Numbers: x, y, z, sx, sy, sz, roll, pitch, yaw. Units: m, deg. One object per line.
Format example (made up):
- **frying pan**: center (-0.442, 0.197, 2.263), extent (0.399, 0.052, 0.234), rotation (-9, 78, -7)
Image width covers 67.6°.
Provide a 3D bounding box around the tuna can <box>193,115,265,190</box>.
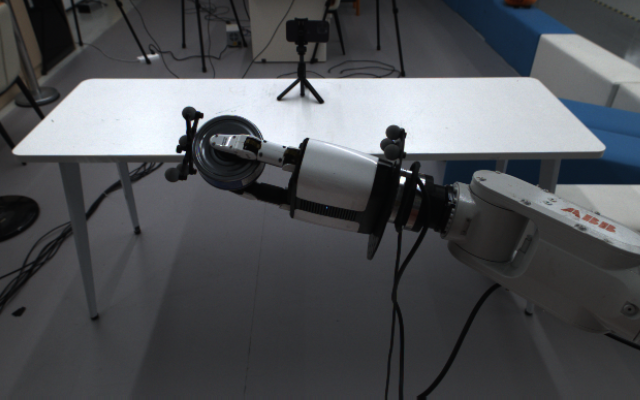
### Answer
- **tuna can**: center (-0.105, -0.057, 0.577), extent (0.085, 0.034, 0.085), rotation (1, 73, -4)
